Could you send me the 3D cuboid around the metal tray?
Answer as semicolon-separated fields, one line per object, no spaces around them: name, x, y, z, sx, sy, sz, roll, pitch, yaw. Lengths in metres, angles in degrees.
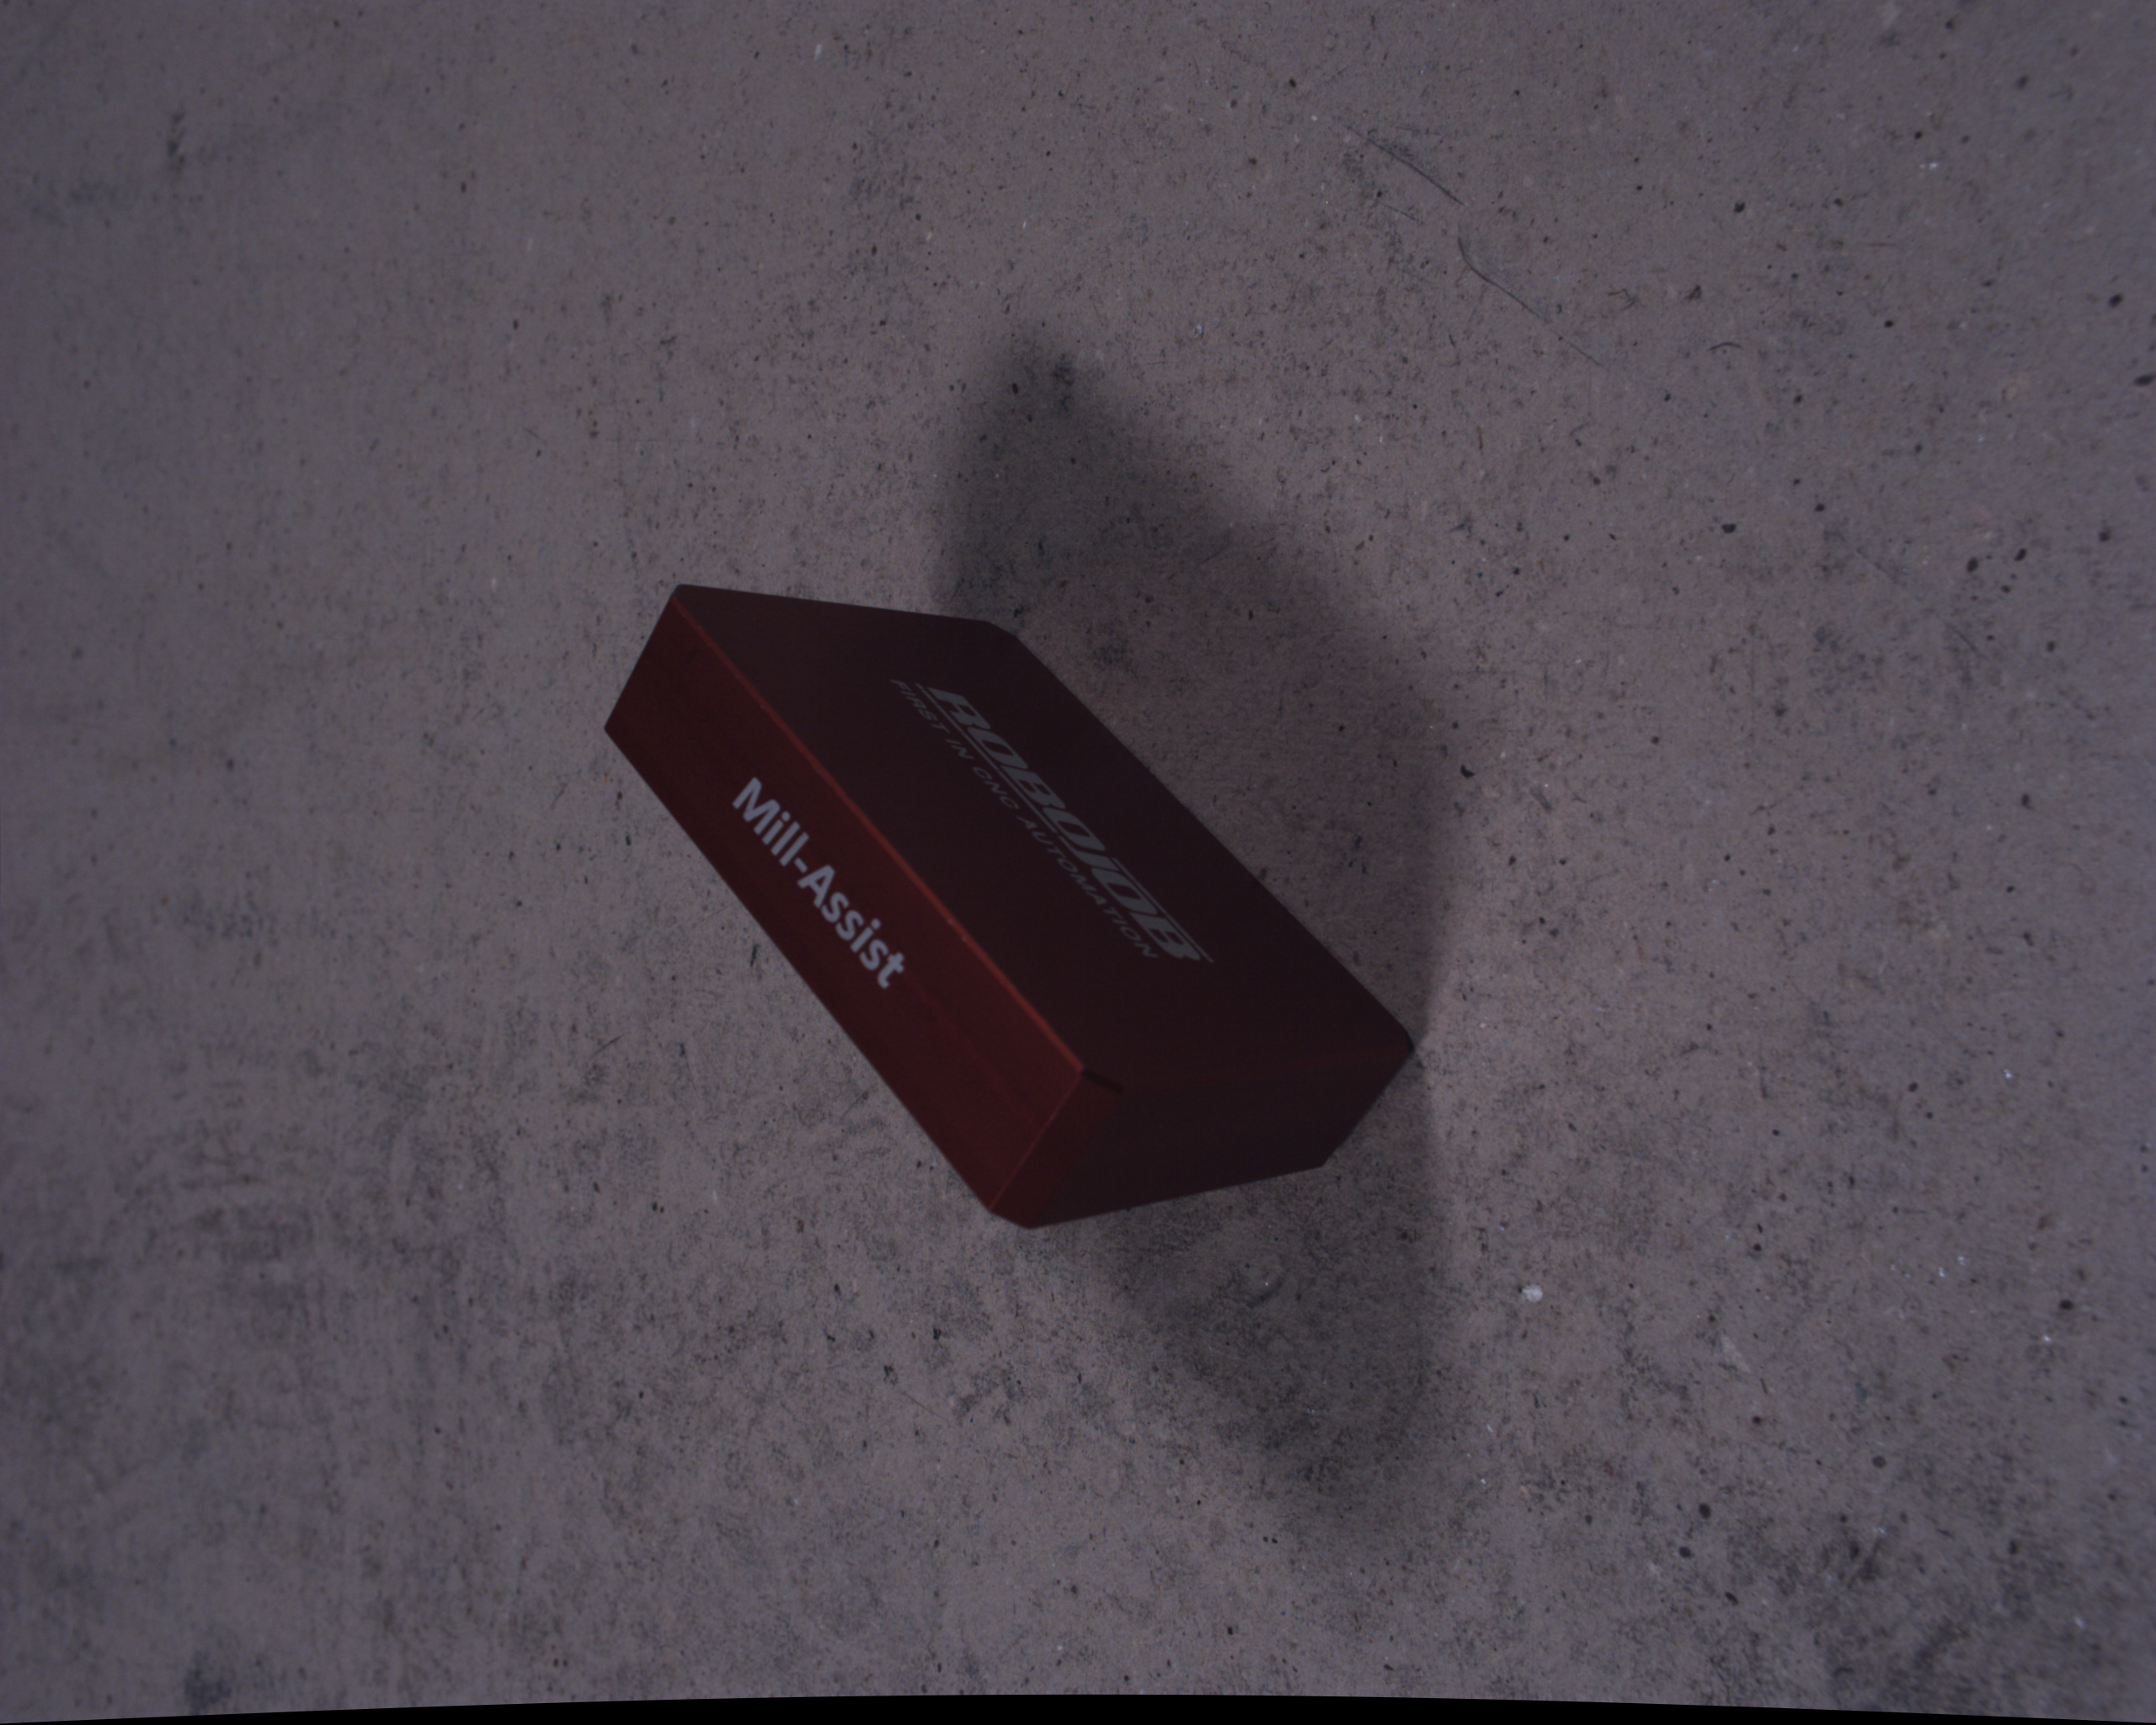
metal tray;-0.013;0.003;0.373;0.130;0.091;0.030;47;118;29
